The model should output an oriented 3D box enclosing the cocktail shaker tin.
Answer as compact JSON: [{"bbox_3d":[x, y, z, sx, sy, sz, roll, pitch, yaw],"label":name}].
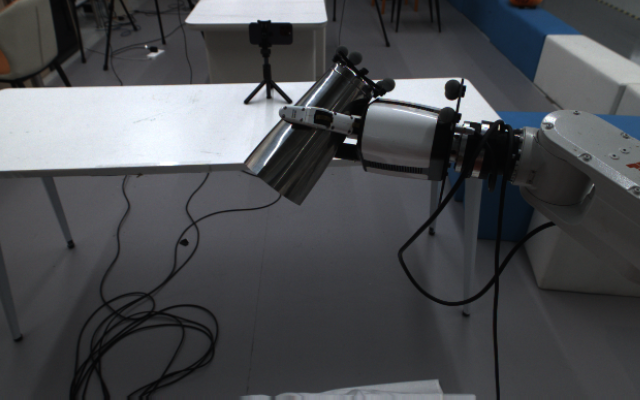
[{"bbox_3d":[-0.008,-0.092,0.621,0.170,0.093,0.093,-50,46,4],"label":"cocktail shaker tin"}]
